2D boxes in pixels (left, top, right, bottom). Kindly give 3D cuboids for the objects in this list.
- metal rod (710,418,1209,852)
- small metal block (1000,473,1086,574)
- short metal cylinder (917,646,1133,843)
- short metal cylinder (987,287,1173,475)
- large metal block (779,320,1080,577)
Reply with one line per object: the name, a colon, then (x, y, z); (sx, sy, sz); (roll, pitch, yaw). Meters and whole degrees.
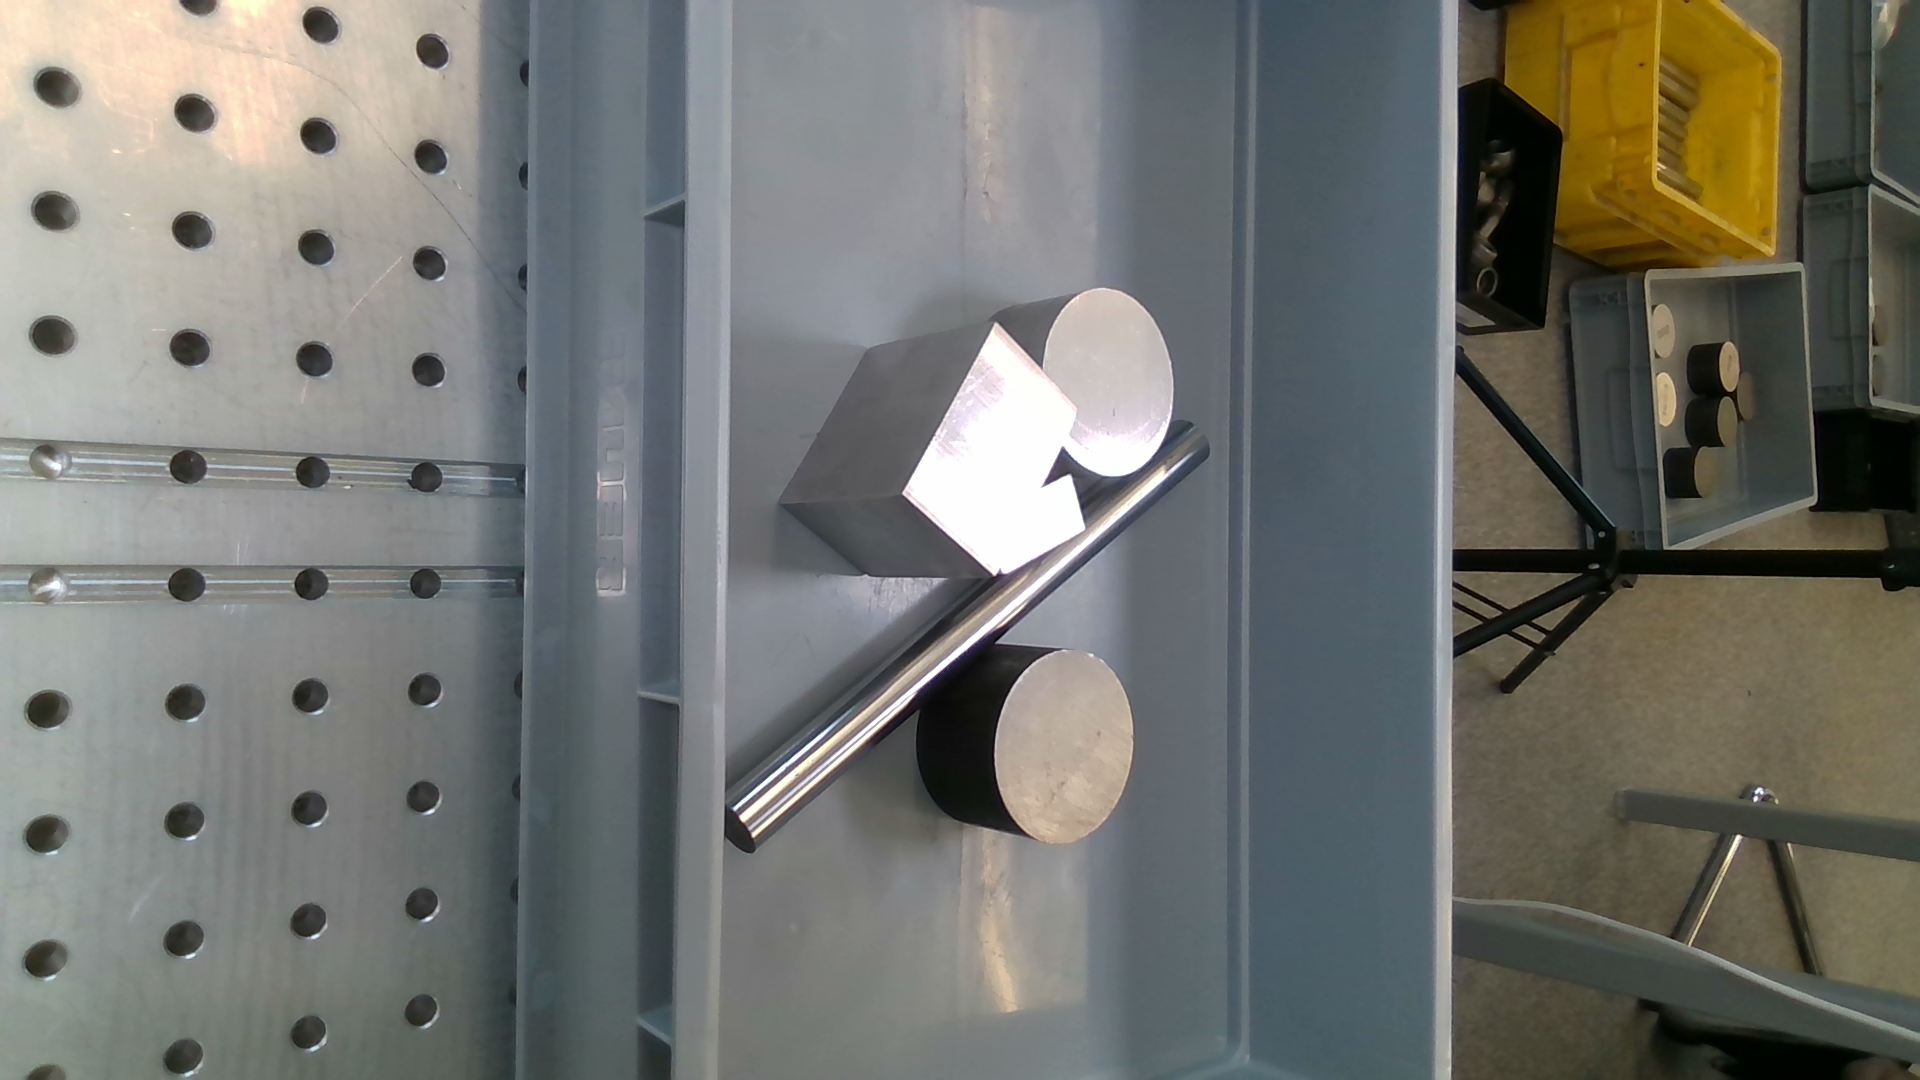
metal rod: (0.014, 0.028, 0.594); (0.299, 0.025, 0.025); (-38, 114, -33)
small metal block: (0.015, -0.007, 0.578); (0.050, 0.050, 0.025); (-27, 107, -37)
short metal cylinder: (0.028, 0.085, 0.590); (0.080, 0.050, 0.080); (0, 90, -40)
short metal cylinder: (0.048, -0.068, 0.606); (0.080, 0.050, 0.080); (0, 90, -40)
large metal block: (-0.012, -0.033, 0.535); (0.050, 0.080, 0.080); (41, 64, -32)
